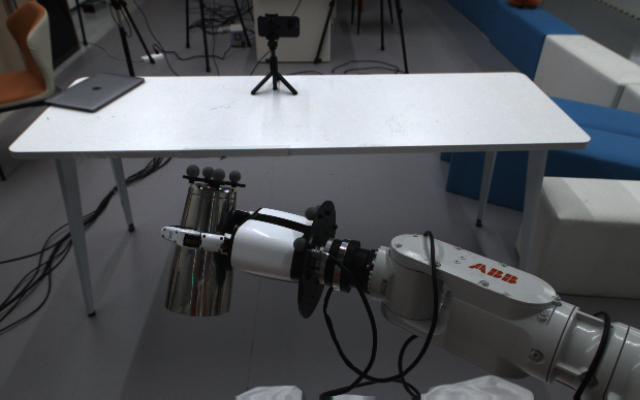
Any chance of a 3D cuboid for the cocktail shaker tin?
[{"bbox_3d":[-0.160,0.067,0.678,0.093,0.170,0.093,8,3,0],"label":"cocktail shaker tin"}]
